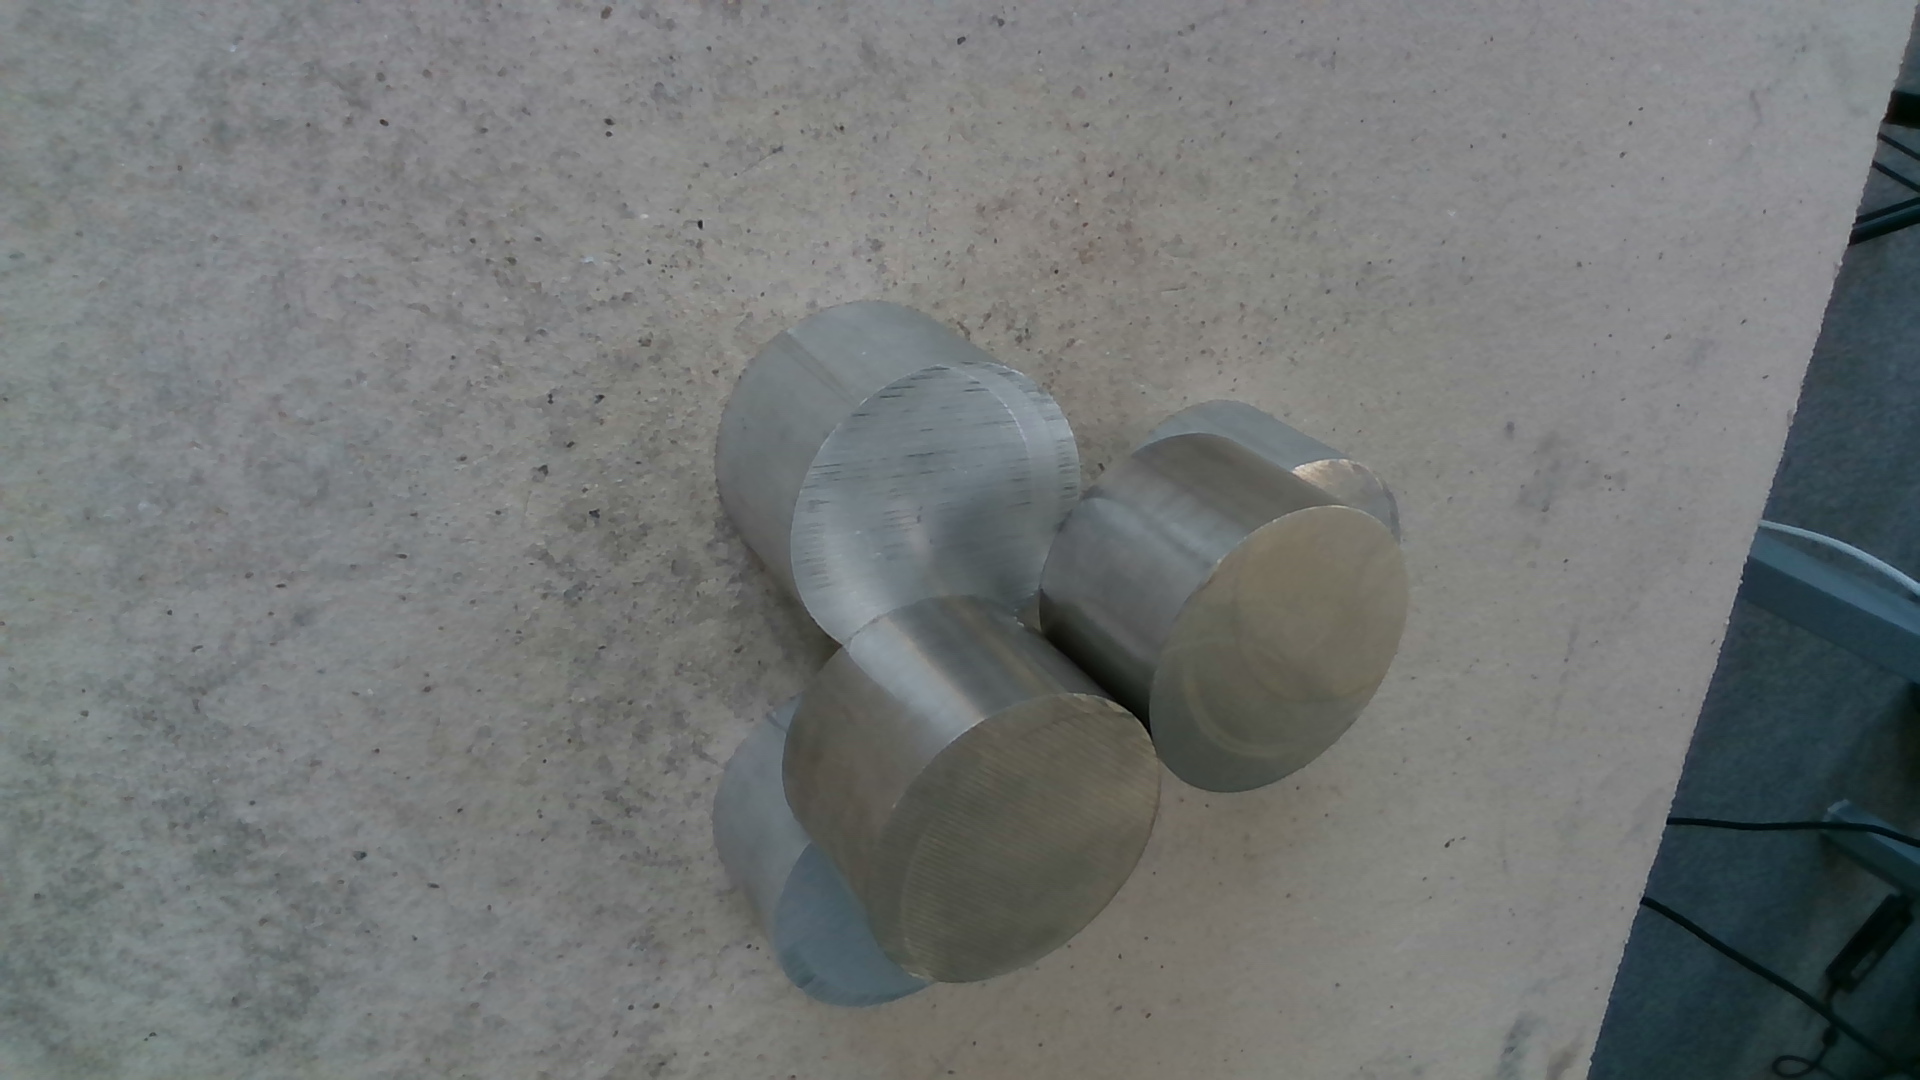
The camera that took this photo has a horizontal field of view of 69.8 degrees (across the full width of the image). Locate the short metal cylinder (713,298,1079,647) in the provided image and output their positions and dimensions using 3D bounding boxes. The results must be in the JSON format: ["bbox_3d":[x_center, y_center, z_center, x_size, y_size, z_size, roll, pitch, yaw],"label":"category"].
[{"bbox_3d":[-0.017,-0.017,0.355,0.080,0.050,0.080,-14,122,-25],"label":"short metal cylinder"}]

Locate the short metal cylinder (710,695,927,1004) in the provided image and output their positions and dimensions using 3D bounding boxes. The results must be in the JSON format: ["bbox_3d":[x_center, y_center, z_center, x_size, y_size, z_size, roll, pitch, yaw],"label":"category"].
[{"bbox_3d":[-0.027,0.087,0.404,0.080,0.050,0.080,-14,122,-25],"label":"short metal cylinder"}]

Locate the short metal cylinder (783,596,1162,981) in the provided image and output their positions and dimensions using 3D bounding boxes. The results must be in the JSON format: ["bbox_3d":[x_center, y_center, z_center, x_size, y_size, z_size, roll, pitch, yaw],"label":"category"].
[{"bbox_3d":[0.003,0.061,0.343,0.080,0.050,0.080,-15,122,-25],"label":"short metal cylinder"}]

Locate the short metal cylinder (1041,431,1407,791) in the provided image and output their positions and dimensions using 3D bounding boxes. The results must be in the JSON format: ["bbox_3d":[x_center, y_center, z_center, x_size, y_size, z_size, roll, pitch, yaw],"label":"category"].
[{"bbox_3d":[0.068,0.018,0.360,0.080,0.050,0.080,-14,121,-25],"label":"short metal cylinder"}]

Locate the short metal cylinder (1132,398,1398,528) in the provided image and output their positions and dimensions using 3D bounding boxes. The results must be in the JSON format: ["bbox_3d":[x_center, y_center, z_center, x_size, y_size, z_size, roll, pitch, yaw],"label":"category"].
[{"bbox_3d":[0.088,0.002,0.430,0.080,0.050,0.080,-14,122,-25],"label":"short metal cylinder"}]
